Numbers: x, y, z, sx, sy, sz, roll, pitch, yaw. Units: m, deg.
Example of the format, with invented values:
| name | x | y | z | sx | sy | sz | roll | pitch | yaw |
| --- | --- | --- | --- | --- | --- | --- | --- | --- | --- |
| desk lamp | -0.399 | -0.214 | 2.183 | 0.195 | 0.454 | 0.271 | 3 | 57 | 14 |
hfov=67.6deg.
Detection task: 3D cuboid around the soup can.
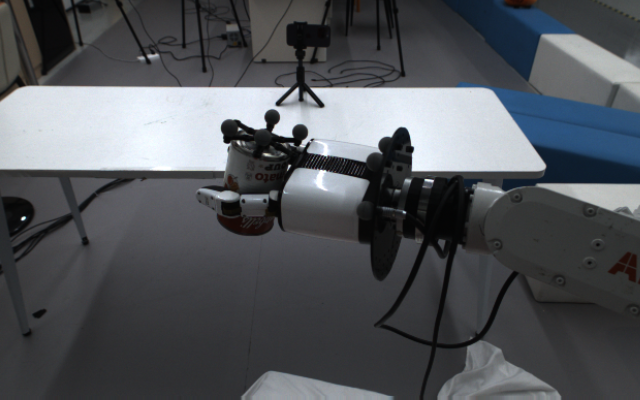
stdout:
| name | x | y | z | sx | sy | sz | roll | pitch | yaw |
| --- | --- | --- | --- | --- | --- | --- | --- | --- | --- |
| soup can | -0.073 | -0.019 | 0.543 | 0.067 | 0.101 | 0.067 | 13 | 30 | -8 |
